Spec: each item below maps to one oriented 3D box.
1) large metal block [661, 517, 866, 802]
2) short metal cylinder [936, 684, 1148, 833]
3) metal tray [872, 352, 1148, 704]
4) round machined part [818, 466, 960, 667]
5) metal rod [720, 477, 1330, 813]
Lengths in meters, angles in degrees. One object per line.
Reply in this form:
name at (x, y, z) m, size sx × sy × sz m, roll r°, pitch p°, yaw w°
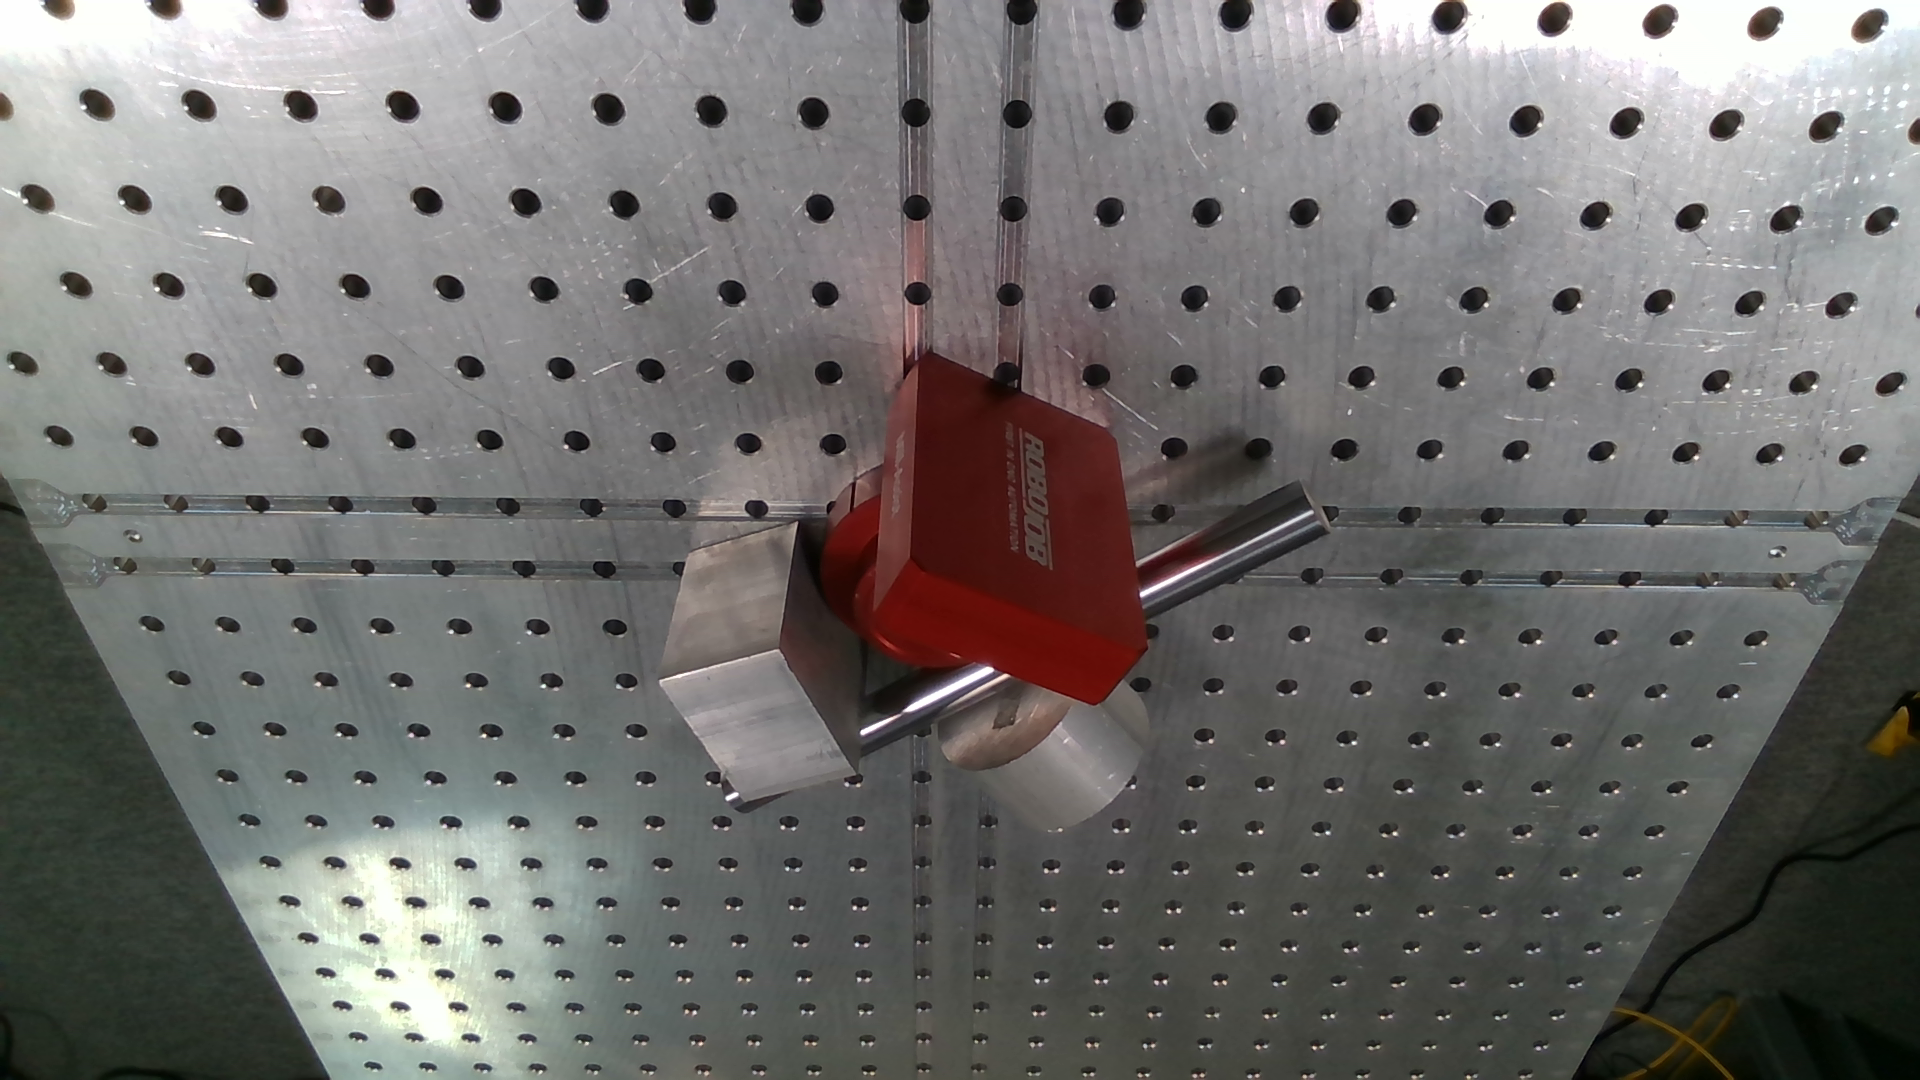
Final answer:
large metal block at (-0.080, 0.051, 0.589) m, size 0.050 × 0.080 × 0.080 m, roll -15°, pitch 128°, yaw 12°
short metal cylinder at (0.036, 0.083, 0.615) m, size 0.080 × 0.080 × 0.050 m, roll -30°, pitch 124°, yaw 23°
metal tray at (0.017, -0.008, 0.508) m, size 0.090 × 0.130 × 0.030 m, roll 21°, pitch 127°, yaw -17°
round machined part at (-0.012, 0.016, 0.584) m, size 0.098 × 0.042 × 0.098 m, roll 0°, pitch 130°, yaw 0°
metal rod at (0.017, 0.052, 0.599) m, size 0.300 × 0.025 × 0.025 m, roll -28°, pitch 125°, yaw 22°
